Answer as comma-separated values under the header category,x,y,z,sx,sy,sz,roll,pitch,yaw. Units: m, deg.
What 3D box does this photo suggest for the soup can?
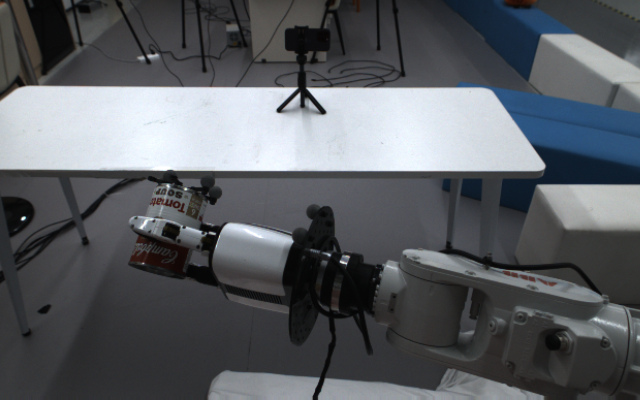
category,x,y,z,sx,sy,sz,roll,pitch,yaw
soup can,-0.182,0.040,0.590,0.067,0.067,0.101,9,72,10
